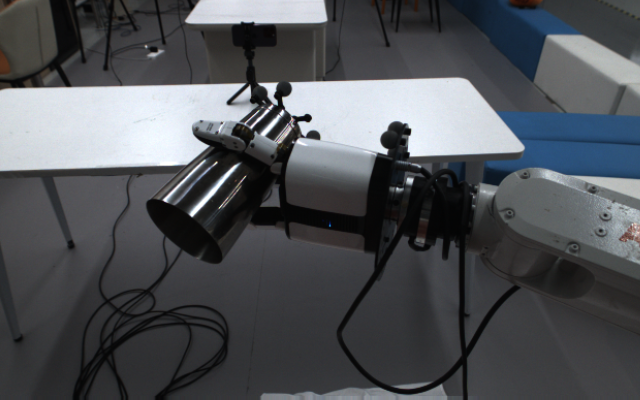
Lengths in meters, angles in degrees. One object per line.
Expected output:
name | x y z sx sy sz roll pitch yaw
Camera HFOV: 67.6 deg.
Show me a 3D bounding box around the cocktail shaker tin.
cocktail shaker tin | -0.087 -0.030 0.512 0.093 0.093 0.170 19 54 22
